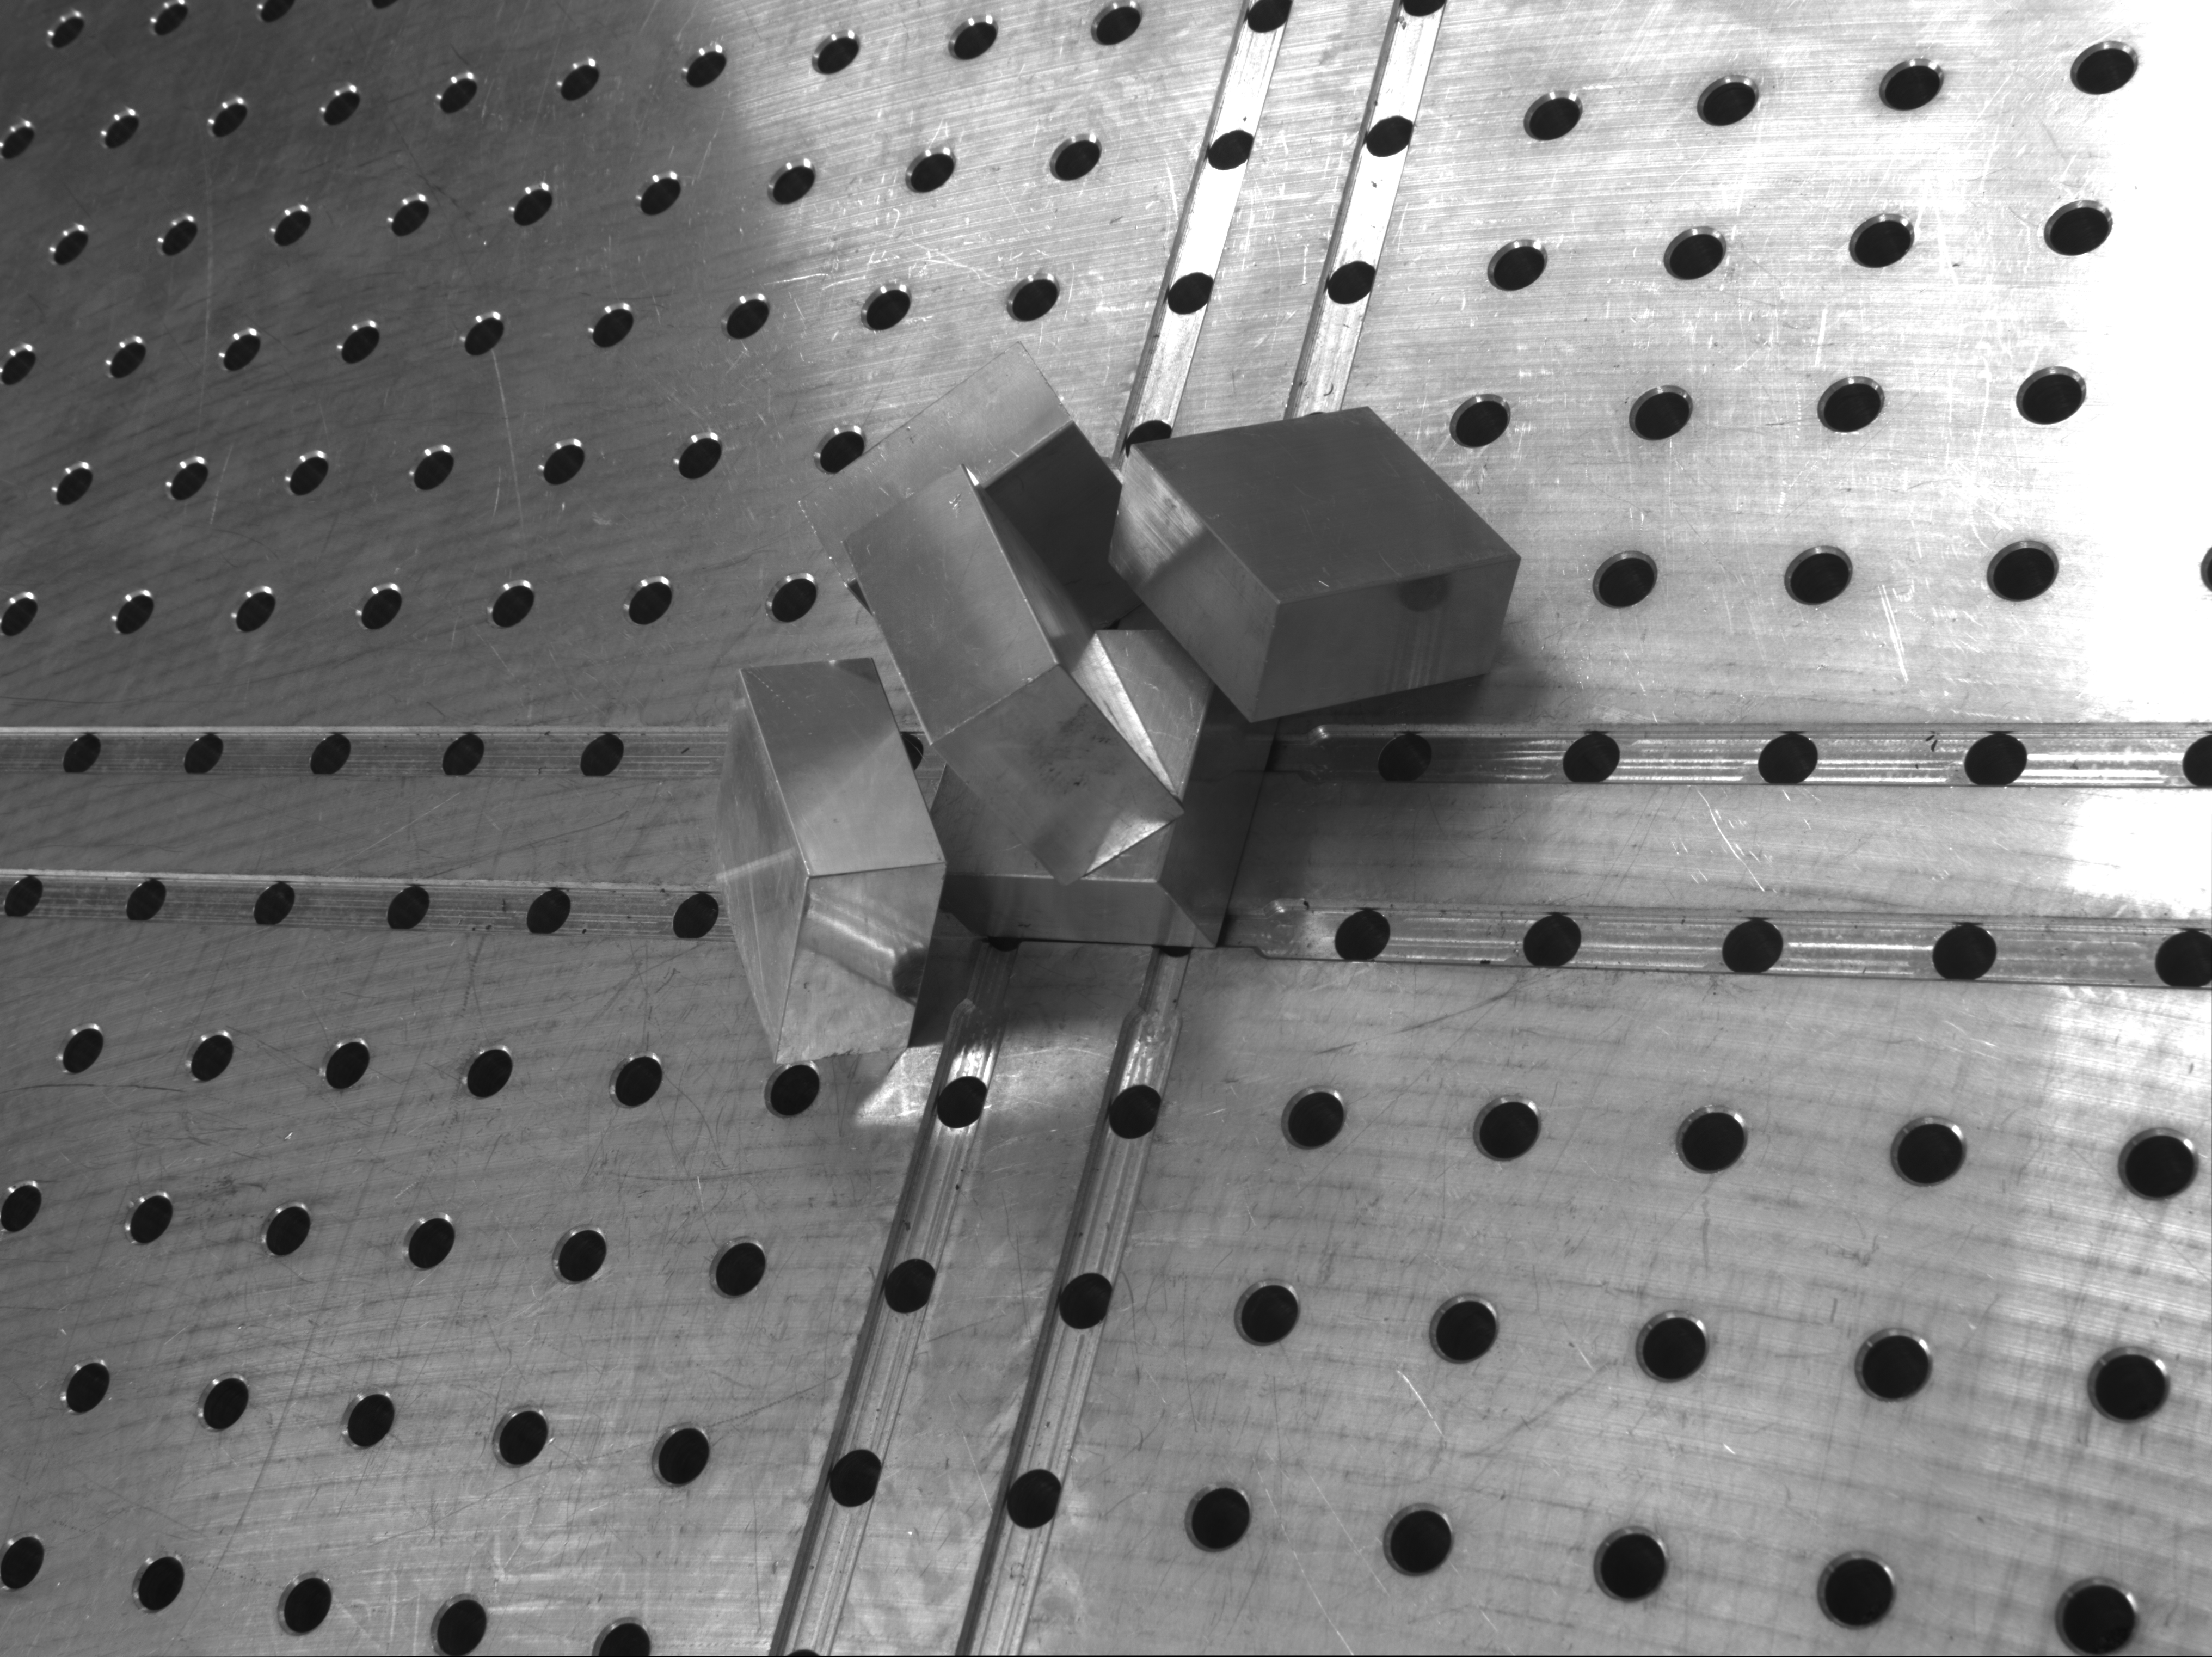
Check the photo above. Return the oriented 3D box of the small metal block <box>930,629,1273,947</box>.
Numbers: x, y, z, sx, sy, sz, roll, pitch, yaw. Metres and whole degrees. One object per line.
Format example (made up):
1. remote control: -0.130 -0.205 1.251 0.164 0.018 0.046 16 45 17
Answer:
1. small metal block: -0.002 -0.008 0.654 0.050 0.025 0.050 1 62 28

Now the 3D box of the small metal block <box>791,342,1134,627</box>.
1. small metal block: -0.021 -0.053 0.677 0.050 0.050 0.025 -35 51 5

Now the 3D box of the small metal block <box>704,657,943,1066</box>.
1. small metal block: -0.051 0.006 0.653 0.025 0.050 0.050 -6 49 -20

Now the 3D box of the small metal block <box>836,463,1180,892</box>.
1. small metal block: -0.017 -0.025 0.625 0.025 0.050 0.050 -31 52 7

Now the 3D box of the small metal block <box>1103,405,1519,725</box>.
1. small metal block: 0.035 -0.047 0.641 0.050 0.025 0.050 -12 43 -29
